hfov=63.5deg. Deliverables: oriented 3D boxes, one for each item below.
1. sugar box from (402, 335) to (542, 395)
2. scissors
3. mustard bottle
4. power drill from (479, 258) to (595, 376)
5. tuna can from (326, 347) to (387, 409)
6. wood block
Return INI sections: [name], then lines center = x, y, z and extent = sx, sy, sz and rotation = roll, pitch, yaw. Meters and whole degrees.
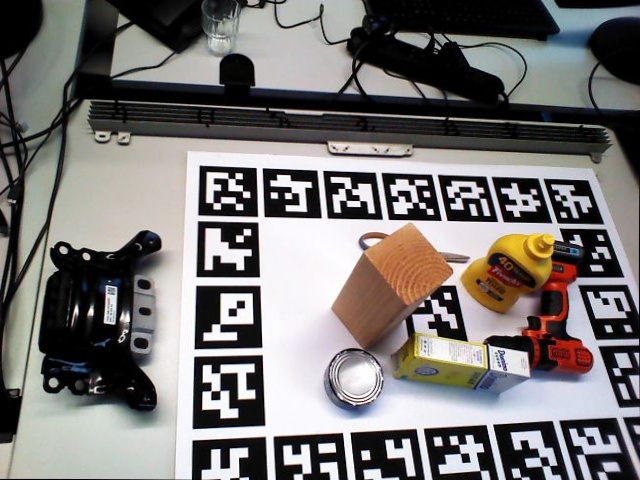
[sugar box]
center = 0.220, 0.185, 0.761
extent = 0.176, 0.093, 0.045
rotation = 12, 59, -6
[scissors]
center = 0.158, 0.022, 0.871
extent = 0.203, 0.016, 0.087
rotation = 3, 60, -9
[mustard bottle]
center = 0.312, 0.045, 0.799
extent = 0.058, 0.192, 0.096
rotation = -39, 78, -24
[power drill]
center = 0.352, 0.117, 0.837
extent = 0.185, 0.057, 0.186
rotation = 13, 70, -4
[tuna can]
center = 0.053, 0.200, 0.751
extent = 0.086, 0.034, 0.085
rotation = 4, 64, -9
[wood block]
center = 0.099, 0.072, 0.740
extent = 0.090, 0.207, 0.090
rotation = -27, 73, -21
